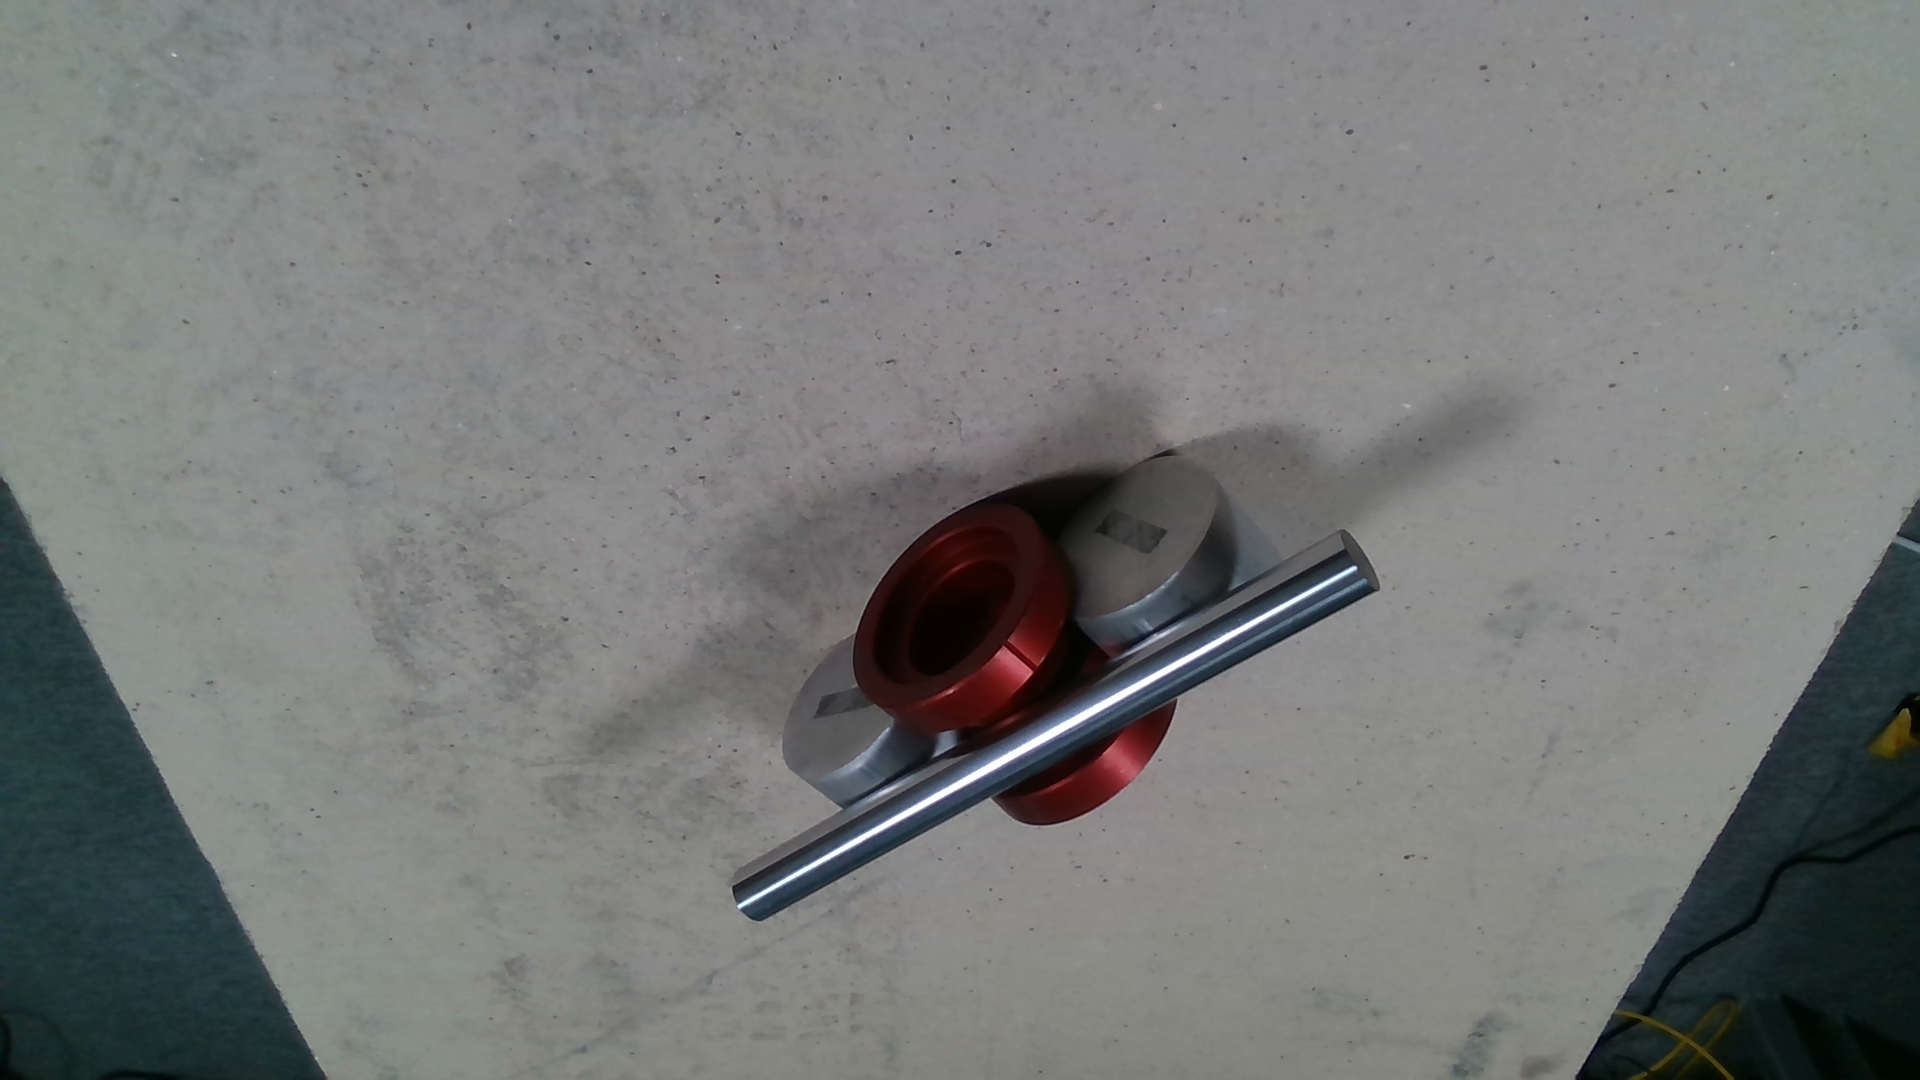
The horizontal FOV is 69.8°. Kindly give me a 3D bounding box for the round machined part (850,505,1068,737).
[{"bbox_3d":[0.005,0.037,0.561,0.098,0.098,0.042,-32,127,24],"label":"round machined part"}]

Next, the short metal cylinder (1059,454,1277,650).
[{"bbox_3d":[0.082,0.012,0.554,0.080,0.080,0.050,-32,123,24],"label":"short metal cylinder"}]

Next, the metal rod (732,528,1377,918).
[{"bbox_3d":[0.024,0.080,0.543,0.300,0.025,0.025,-33,123,24],"label":"metal rod"}]

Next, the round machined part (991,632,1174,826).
[{"bbox_3d":[0.041,0.070,0.591,0.098,0.098,0.042,-32,118,24],"label":"round machined part"}]

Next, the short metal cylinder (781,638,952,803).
[{"bbox_3d":[-0.033,0.083,0.613,0.080,0.080,0.050,-32,123,24],"label":"short metal cylinder"}]
